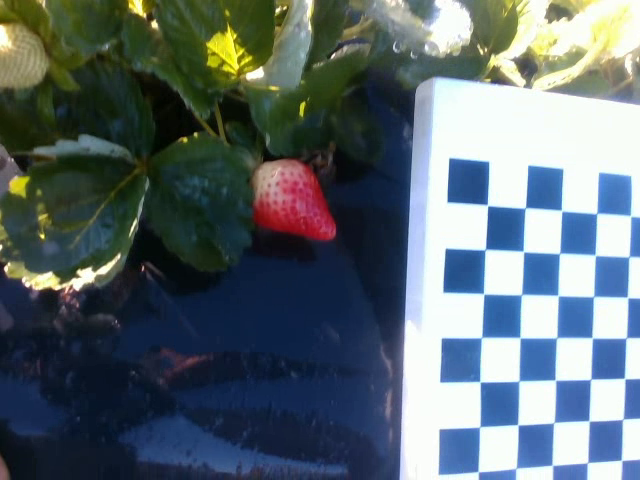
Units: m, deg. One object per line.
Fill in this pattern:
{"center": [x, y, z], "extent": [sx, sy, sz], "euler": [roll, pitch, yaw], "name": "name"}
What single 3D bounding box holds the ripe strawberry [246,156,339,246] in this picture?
{"center": [-0.014, -0.016, 0.337], "extent": [0.065, 0.040, 0.040], "euler": [45, -15, -12], "name": "ripe strawberry"}
